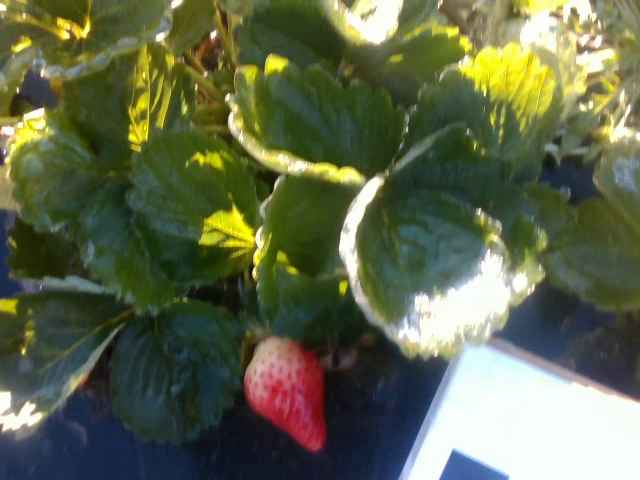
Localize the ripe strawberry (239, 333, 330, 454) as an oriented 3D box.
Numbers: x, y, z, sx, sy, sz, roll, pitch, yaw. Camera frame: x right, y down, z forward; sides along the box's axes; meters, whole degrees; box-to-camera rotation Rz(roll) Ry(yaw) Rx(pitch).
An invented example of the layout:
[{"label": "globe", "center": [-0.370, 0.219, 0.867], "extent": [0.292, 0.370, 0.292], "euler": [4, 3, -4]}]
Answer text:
[{"label": "ripe strawberry", "center": [-0.016, 0.079, 0.304], "extent": [0.040, 0.065, 0.040], "euler": [-28, 1, 9]}]
